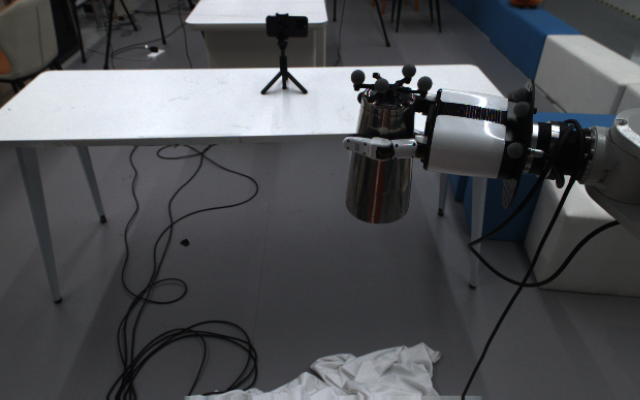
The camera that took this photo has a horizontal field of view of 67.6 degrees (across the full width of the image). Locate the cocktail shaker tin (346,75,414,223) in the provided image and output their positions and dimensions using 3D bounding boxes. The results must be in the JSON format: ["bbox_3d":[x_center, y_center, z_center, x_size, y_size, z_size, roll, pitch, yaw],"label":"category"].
[{"bbox_3d":[0.088,-0.066,0.648,0.093,0.170,0.093,1,39,-1],"label":"cocktail shaker tin"}]
